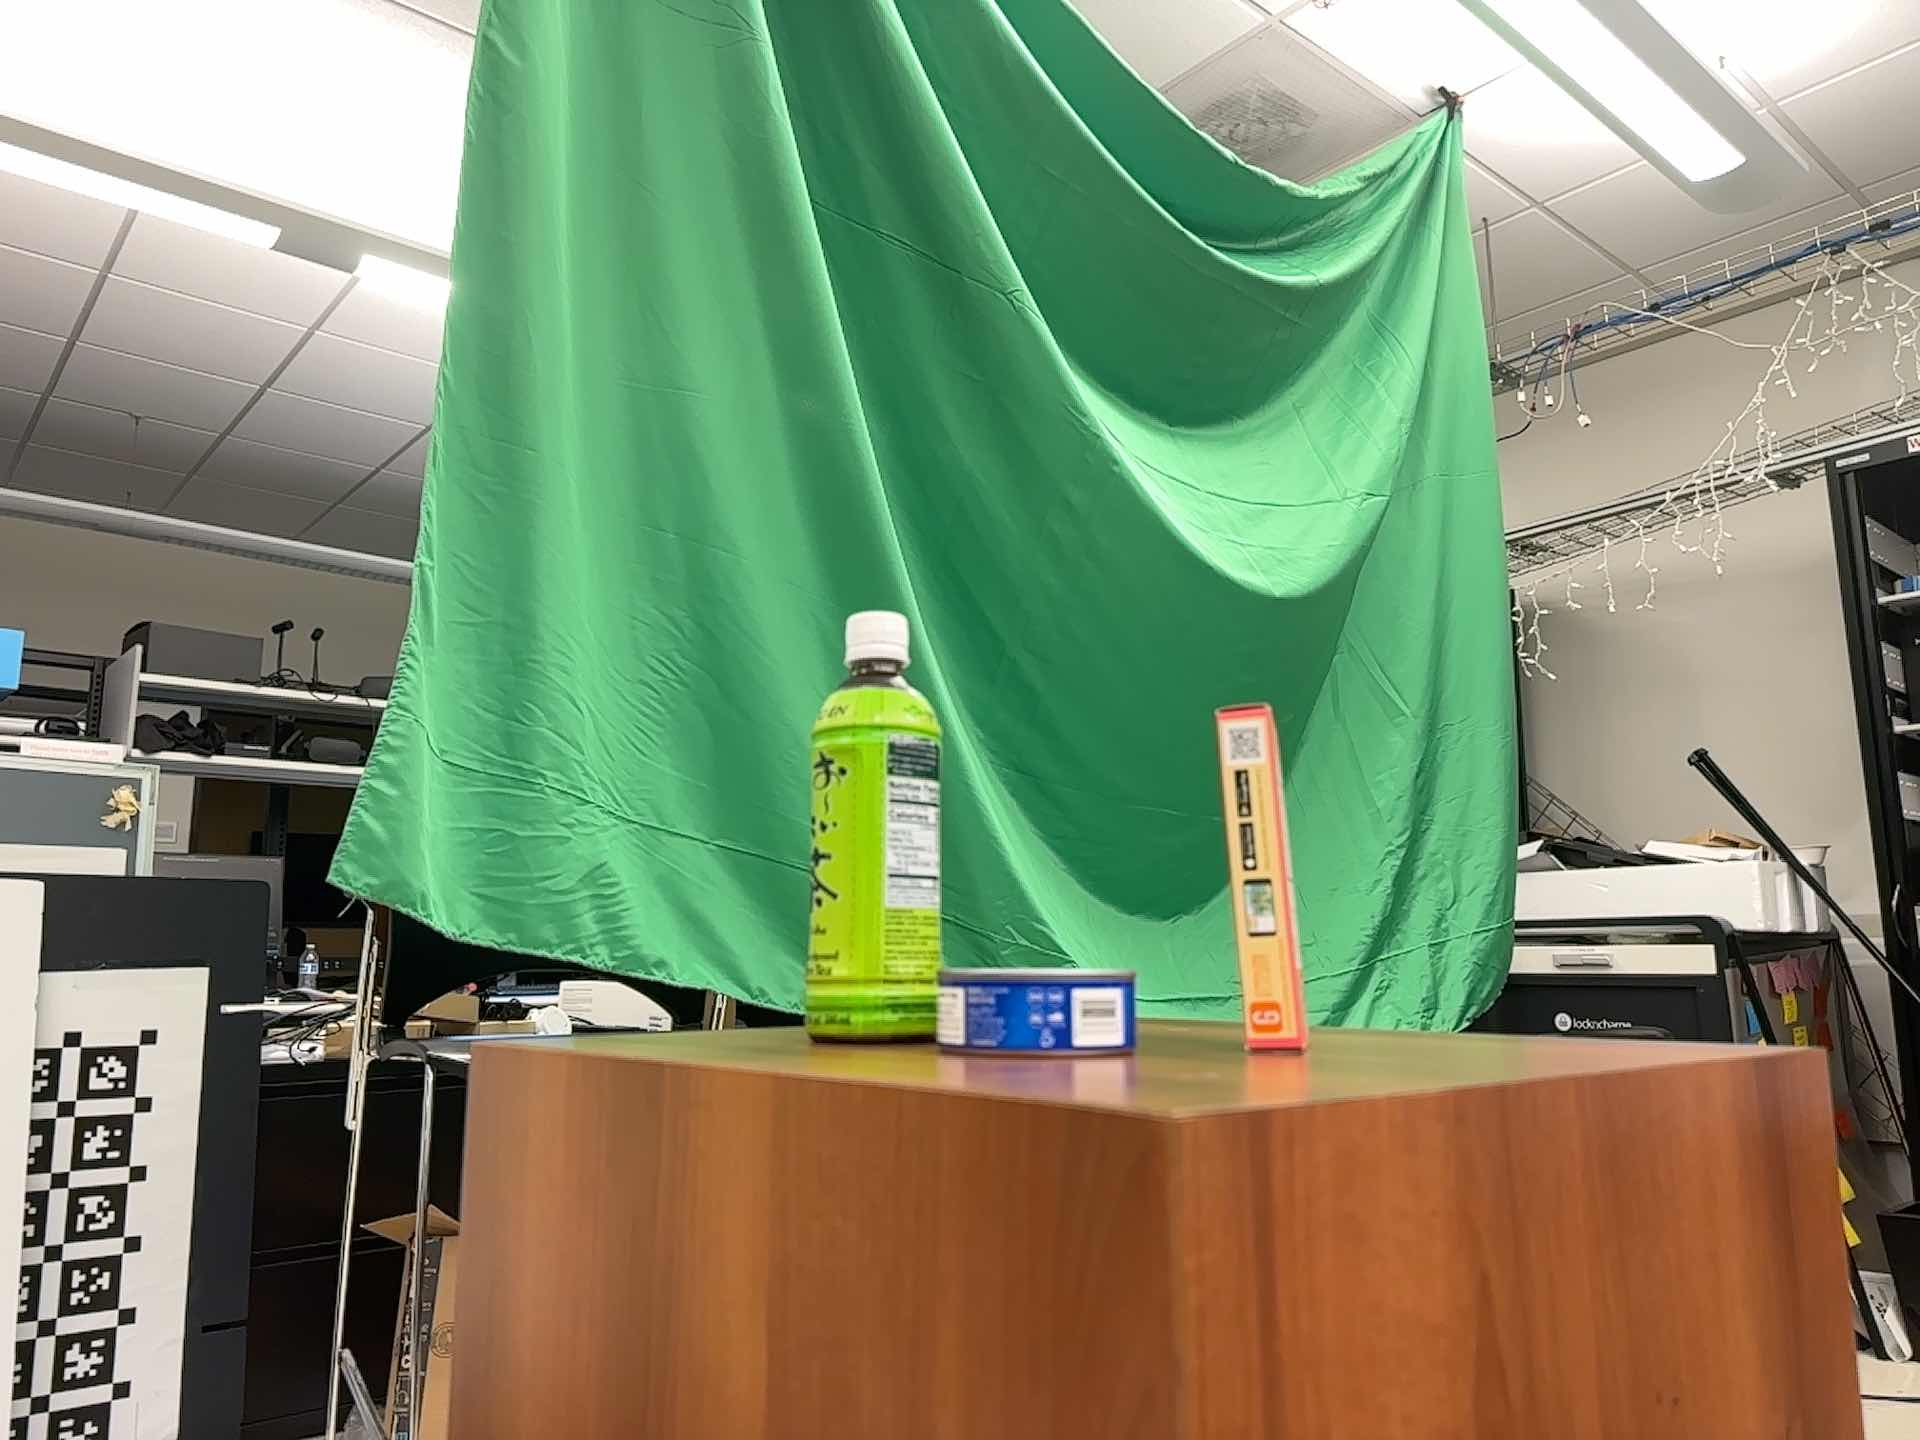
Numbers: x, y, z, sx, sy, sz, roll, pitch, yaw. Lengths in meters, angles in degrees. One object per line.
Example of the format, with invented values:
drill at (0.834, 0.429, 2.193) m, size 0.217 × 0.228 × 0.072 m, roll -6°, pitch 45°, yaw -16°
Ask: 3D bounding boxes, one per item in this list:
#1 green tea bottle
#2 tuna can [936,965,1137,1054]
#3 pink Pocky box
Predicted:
green tea bottle at (-0.044, 0.049, 0.651) m, size 0.073 × 0.212 × 0.073 m, roll -1°, pitch -11°, yaw 0°
tuna can at (0.032, 0.120, 0.564) m, size 0.083 × 0.034 × 0.083 m, roll 0°, pitch -10°, yaw 0°
pink Pocky box at (0.140, 0.069, 0.620) m, size 0.029 × 0.155 × 0.084 m, roll -6°, pitch -10°, yaw 14°
